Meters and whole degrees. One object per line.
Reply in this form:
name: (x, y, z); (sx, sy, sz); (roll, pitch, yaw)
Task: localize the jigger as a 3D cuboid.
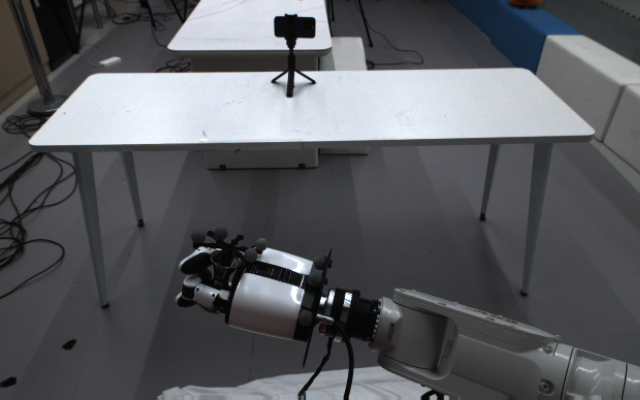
jigger: (-0.127, 0.107, 0.634); (0.043, 0.071, 0.043); (15, 17, -5)
